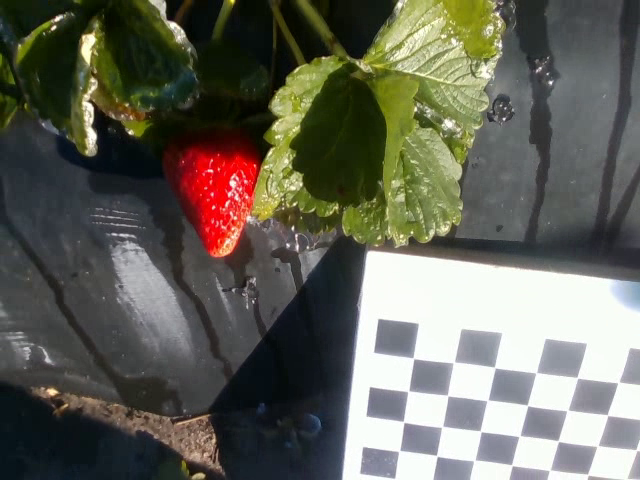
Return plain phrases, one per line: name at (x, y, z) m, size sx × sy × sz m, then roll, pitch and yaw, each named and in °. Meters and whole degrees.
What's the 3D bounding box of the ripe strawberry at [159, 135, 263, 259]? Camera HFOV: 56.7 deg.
ripe strawberry at (-0.041, -0.017, 0.225) m, size 0.042 × 0.052 × 0.047 m, roll 1°, pitch -15°, yaw 5°
